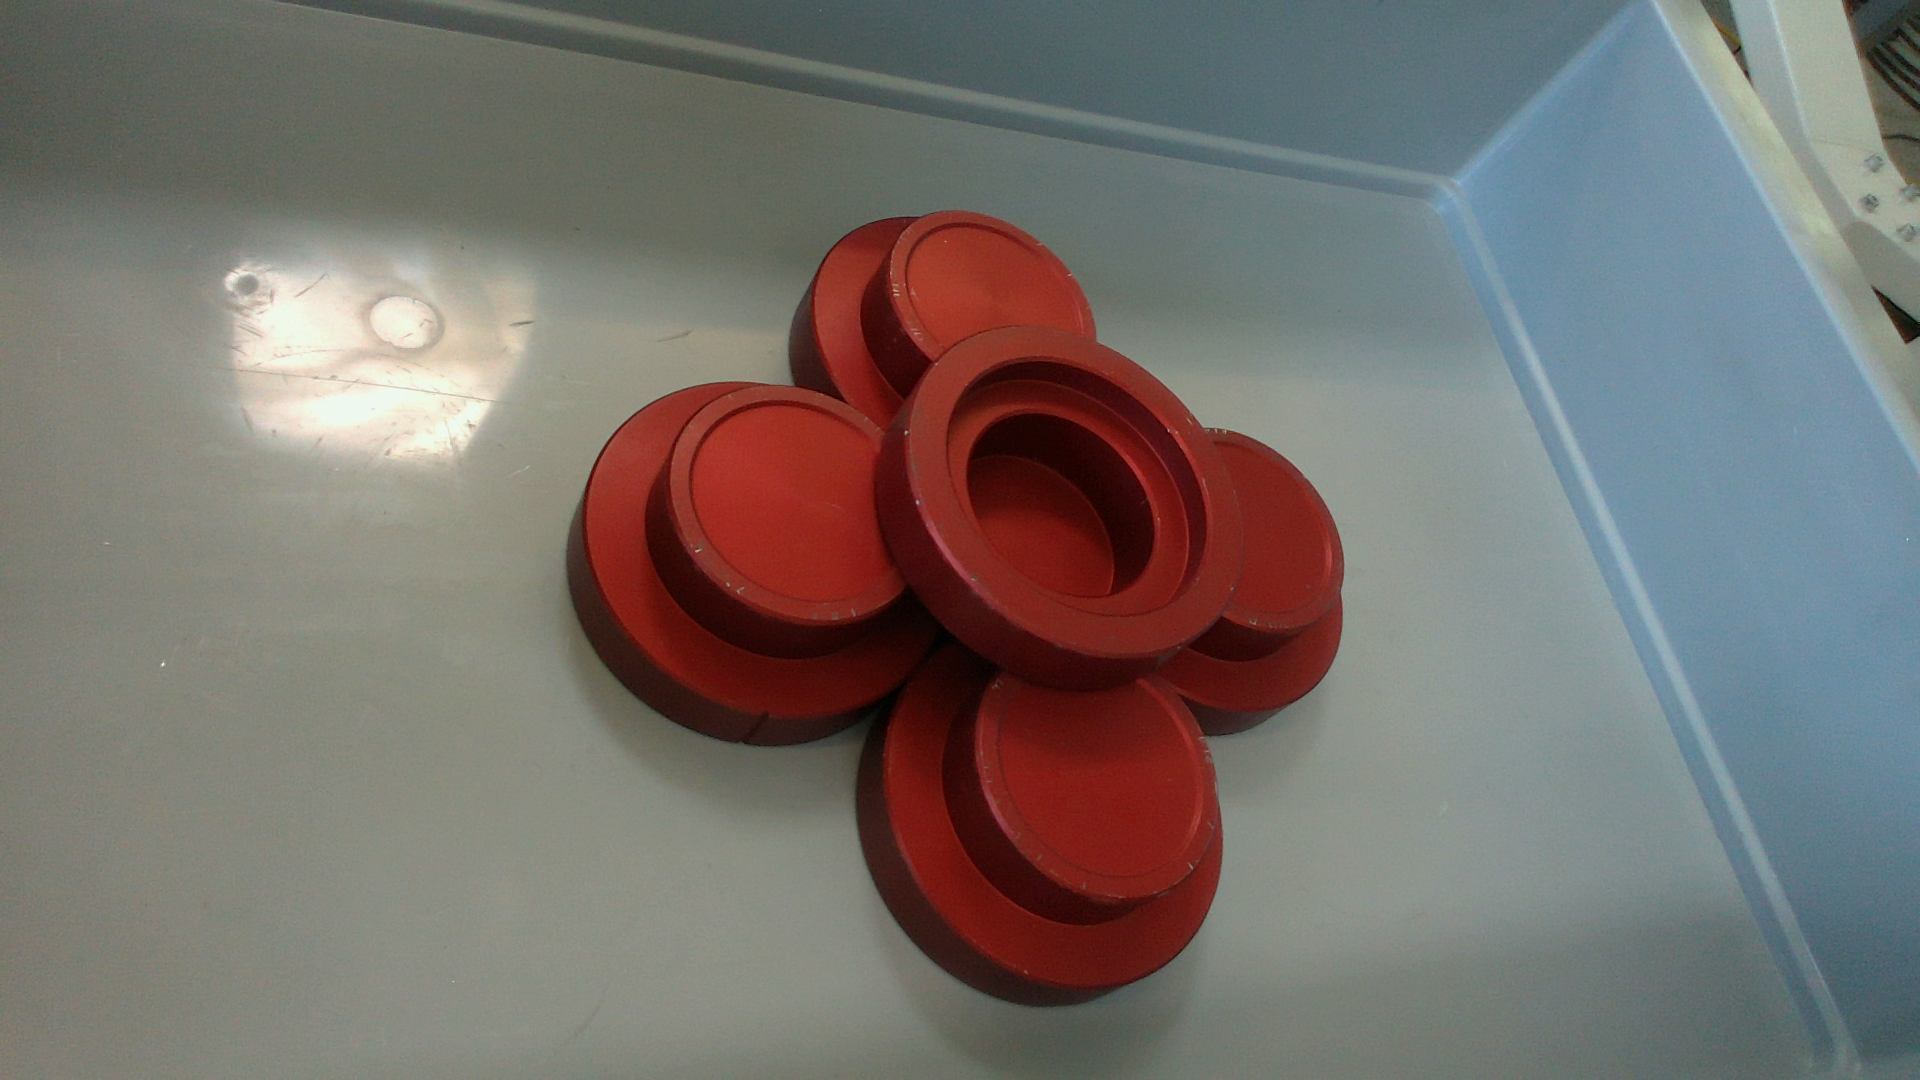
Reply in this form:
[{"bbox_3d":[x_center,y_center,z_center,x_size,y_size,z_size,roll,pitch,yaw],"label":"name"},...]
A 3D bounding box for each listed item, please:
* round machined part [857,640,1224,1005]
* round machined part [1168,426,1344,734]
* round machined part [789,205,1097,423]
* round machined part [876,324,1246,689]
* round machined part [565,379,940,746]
[{"bbox_3d":[0.027,0.064,0.352,0.098,0.042,0.098,15,54,-21],"label":"round machined part"},{"bbox_3d":[0.075,0.005,0.414,0.098,0.042,0.098,14,56,-21],"label":"round machined part"},{"bbox_3d":[0.002,-0.061,0.413,0.098,0.042,0.098,14,56,-21],"label":"round machined part"},{"bbox_3d":[0.023,-0.005,0.365,0.098,0.042,0.098,14,56,-21],"label":"round machined part"},{"bbox_3d":[-0.047,-0.001,0.351,0.098,0.042,0.098,14,56,-21],"label":"round machined part"}]
